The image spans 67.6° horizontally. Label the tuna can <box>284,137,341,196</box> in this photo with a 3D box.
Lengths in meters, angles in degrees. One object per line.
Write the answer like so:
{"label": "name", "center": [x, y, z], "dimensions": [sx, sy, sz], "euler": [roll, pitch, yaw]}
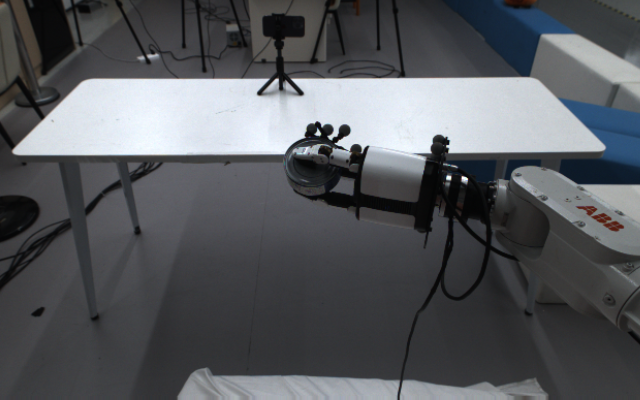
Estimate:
{"label": "tuna can", "center": [-0.010, -0.050, 0.721], "dimensions": [0.085, 0.034, 0.085], "euler": [-2, 60, 3]}
